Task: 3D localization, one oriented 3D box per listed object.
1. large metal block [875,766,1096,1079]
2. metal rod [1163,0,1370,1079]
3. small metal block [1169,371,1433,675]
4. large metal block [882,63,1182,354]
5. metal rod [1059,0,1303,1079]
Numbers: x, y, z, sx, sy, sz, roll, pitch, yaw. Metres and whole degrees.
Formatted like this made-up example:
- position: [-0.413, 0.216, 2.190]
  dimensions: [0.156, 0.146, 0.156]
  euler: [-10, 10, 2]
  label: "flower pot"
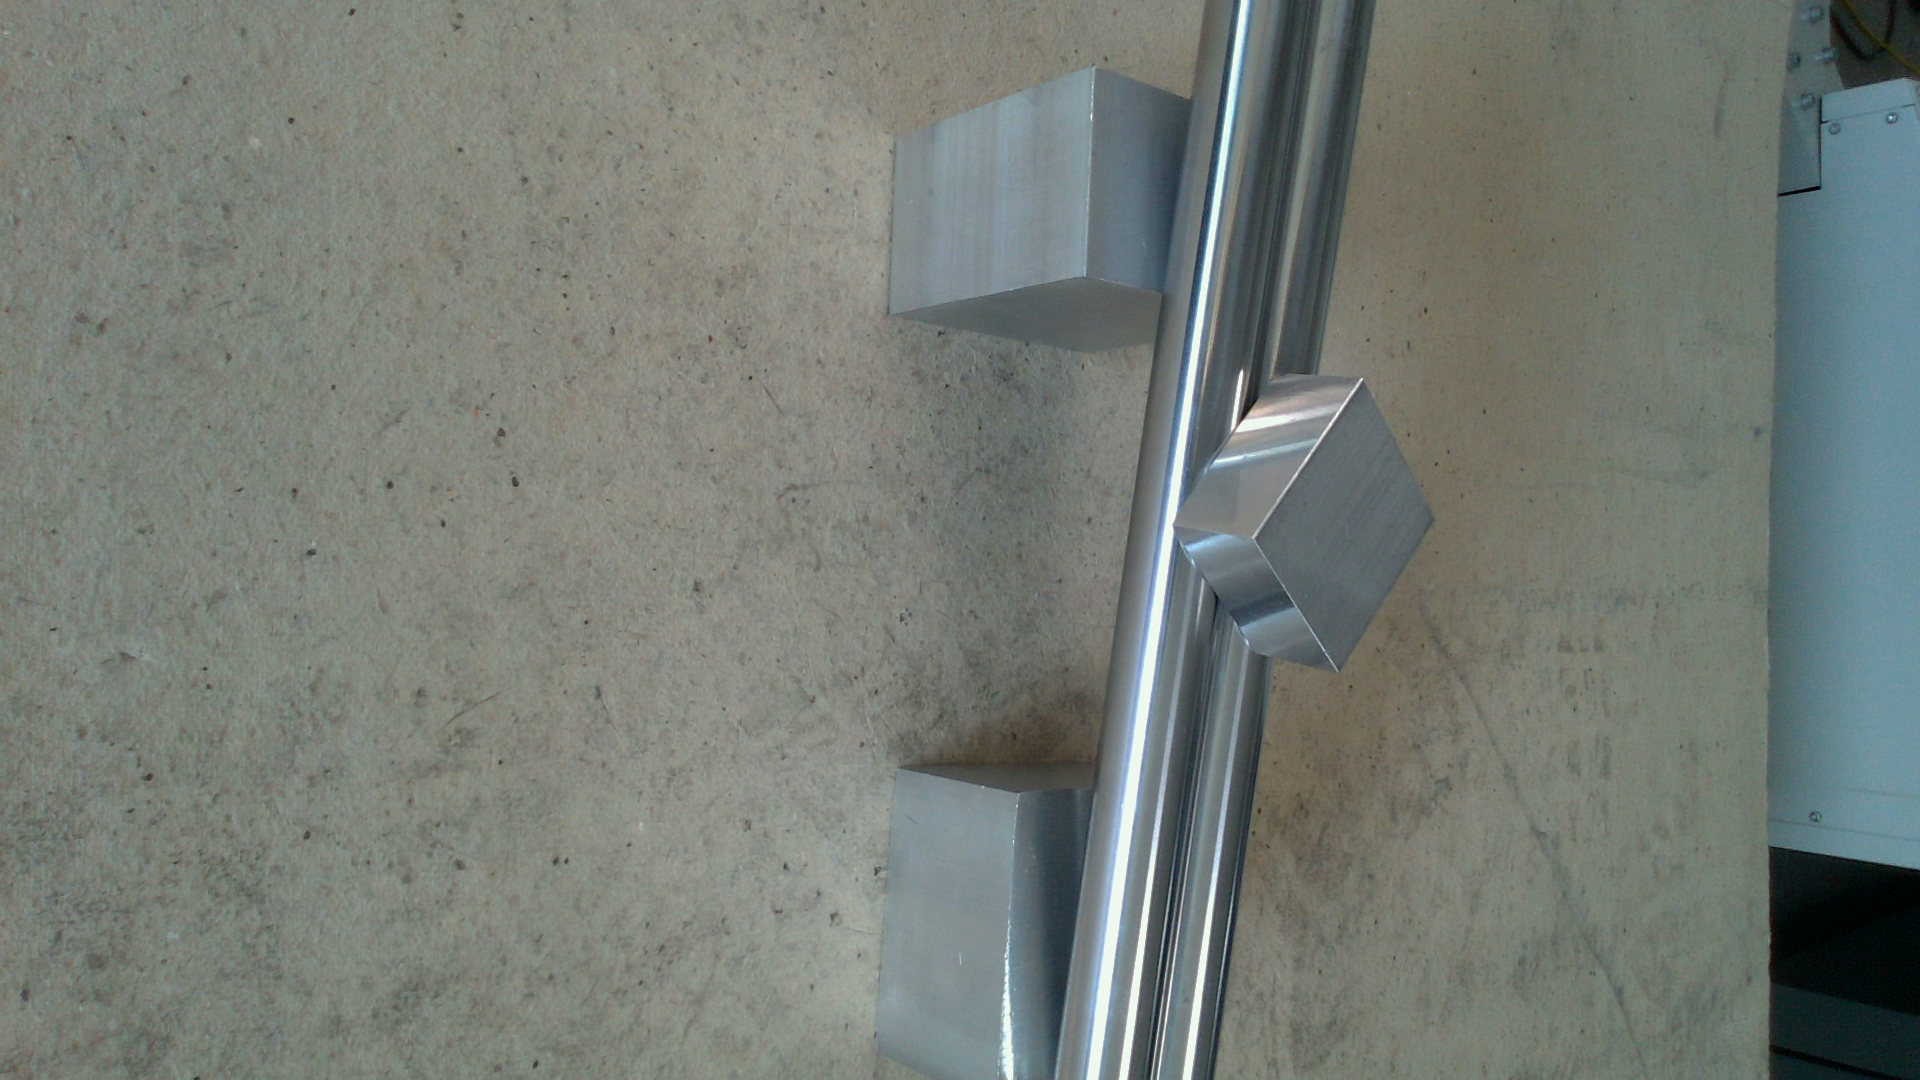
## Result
- position: [0.026, 0.107, 0.393]
  dimensions: [0.080, 0.050, 0.080]
  euler: [6, 86, -40]
  label: "large metal block"
- position: [0.075, -0.004, 0.357]
  dimensions: [0.025, 0.025, 0.300]
  euler: [4, 94, -40]
  label: "metal rod"
- position: [0.084, -0.005, 0.332]
  dimensions: [0.050, 0.025, 0.050]
  euler: [-53, 126, -20]
  label: "small metal block"
- position: [0.035, -0.086, 0.383]
  dimensions: [0.080, 0.080, 0.050]
  euler: [4, 87, -40]
  label: "large metal block"
- position: [0.055, -0.006, 0.340]
  dimensions: [0.025, 0.025, 0.300]
  euler: [4, 94, -40]
  label: "metal rod"
